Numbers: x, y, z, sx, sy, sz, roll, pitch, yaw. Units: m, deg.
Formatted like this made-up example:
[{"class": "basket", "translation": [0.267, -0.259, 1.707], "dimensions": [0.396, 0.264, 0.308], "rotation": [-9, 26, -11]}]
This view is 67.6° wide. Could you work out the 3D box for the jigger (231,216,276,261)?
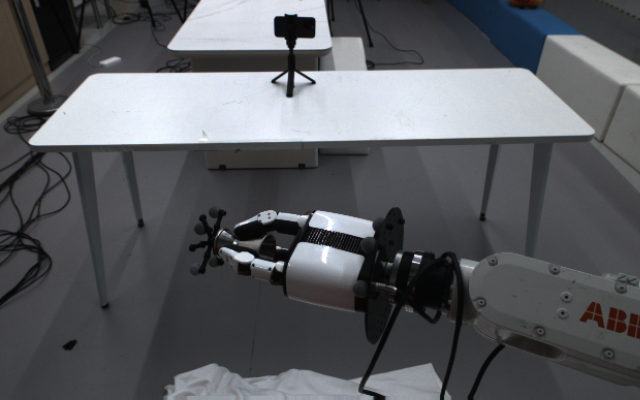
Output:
[{"class": "jigger", "translation": [-0.091, 0.058, 0.621], "dimensions": [0.071, 0.043, 0.043], "rotation": [7, 34, 23]}]
